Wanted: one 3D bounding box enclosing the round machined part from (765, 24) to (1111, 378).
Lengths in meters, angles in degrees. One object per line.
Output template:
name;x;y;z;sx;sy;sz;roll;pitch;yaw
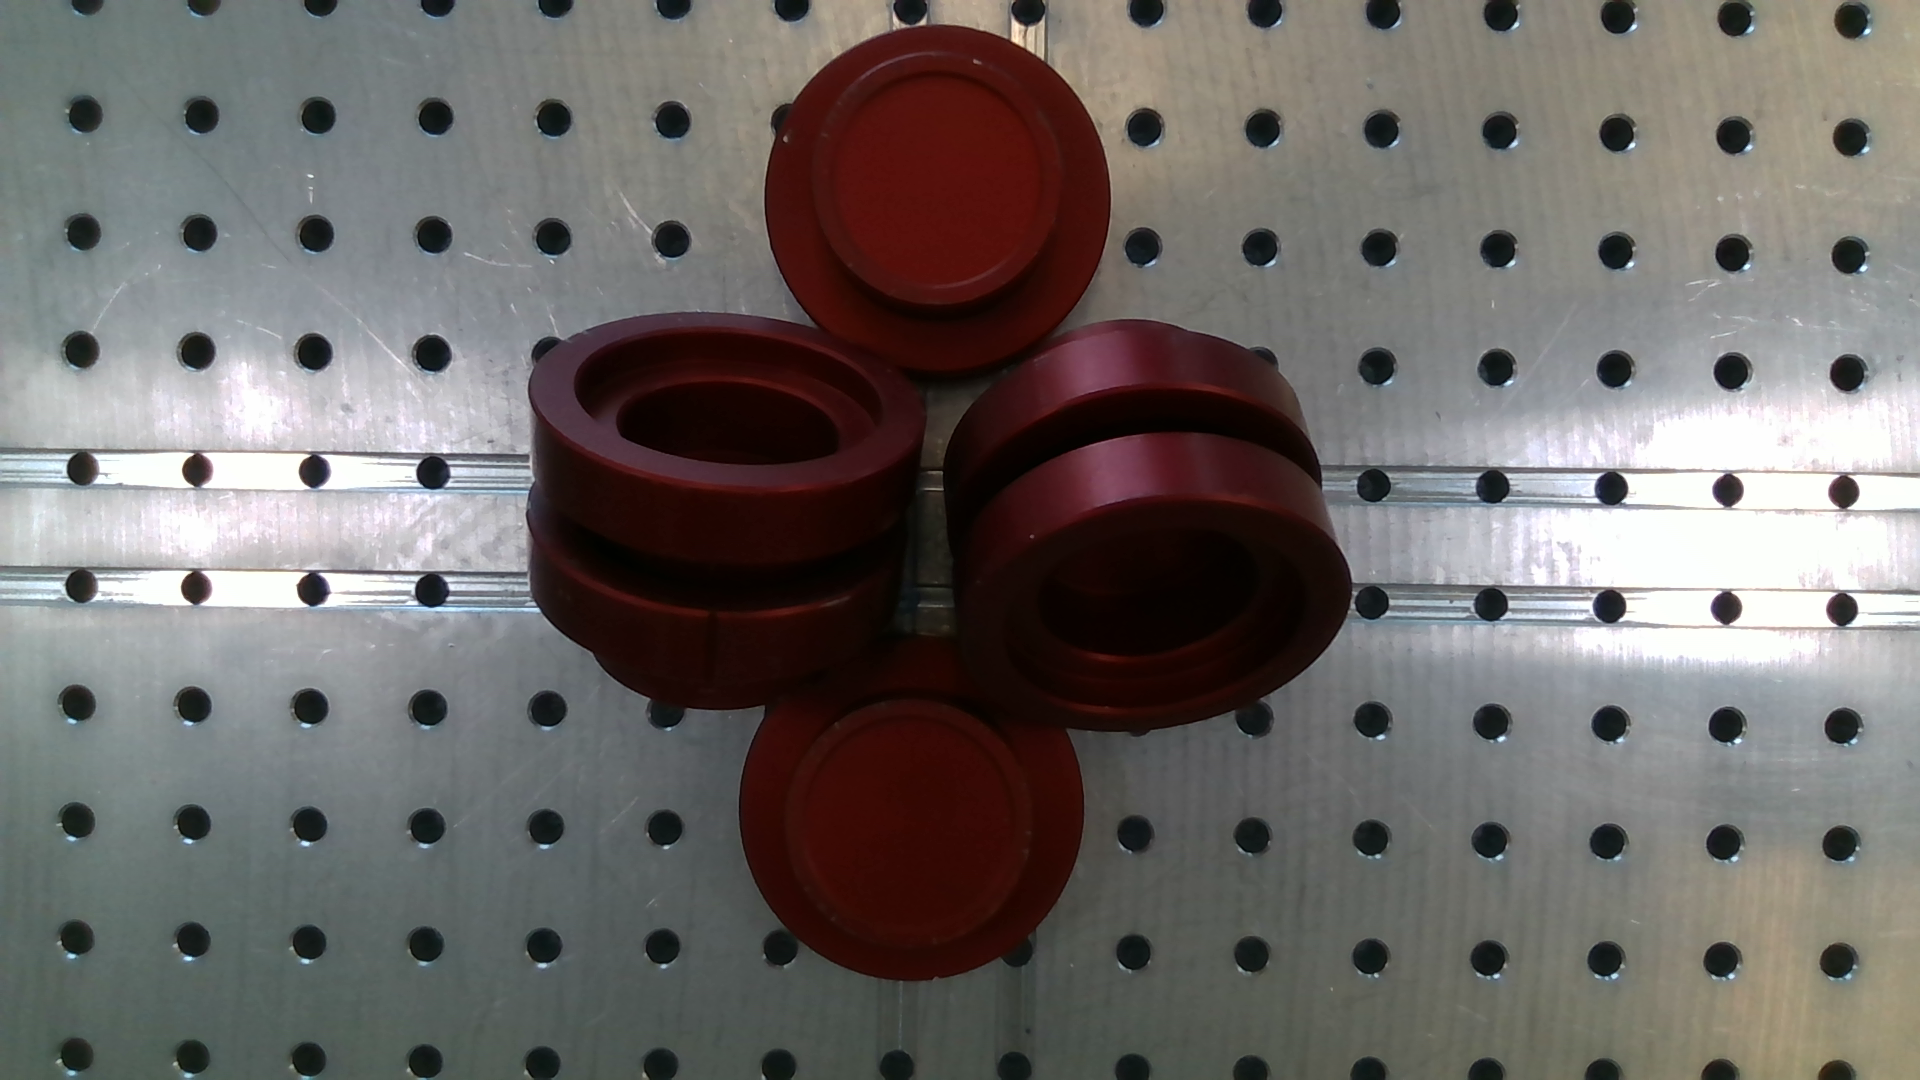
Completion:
round machined part;-0.006;-0.097;0.388;0.098;0.042;0.098;0;90;0

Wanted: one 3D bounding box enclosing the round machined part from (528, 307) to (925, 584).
round machined part;-0.060;-0.021;0.356;0.098;0.098;0.042;10;122;0

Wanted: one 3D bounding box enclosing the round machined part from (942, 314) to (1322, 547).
round machined part;0.044;-0.022;0.372;0.098;0.098;0.042;-6;50;0

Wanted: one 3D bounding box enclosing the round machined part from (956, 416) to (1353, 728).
round machined part;0.047;0.005;0.354;0.098;0.098;0.042;-6;50;0

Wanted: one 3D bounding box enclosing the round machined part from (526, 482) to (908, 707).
round machined part;-0.065;0.008;0.370;0.098;0.098;0.042;10;122;0

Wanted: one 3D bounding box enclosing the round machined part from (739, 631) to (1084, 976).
round machined part;-0.014;0.075;0.389;0.098;0.042;0.098;0;90;0
